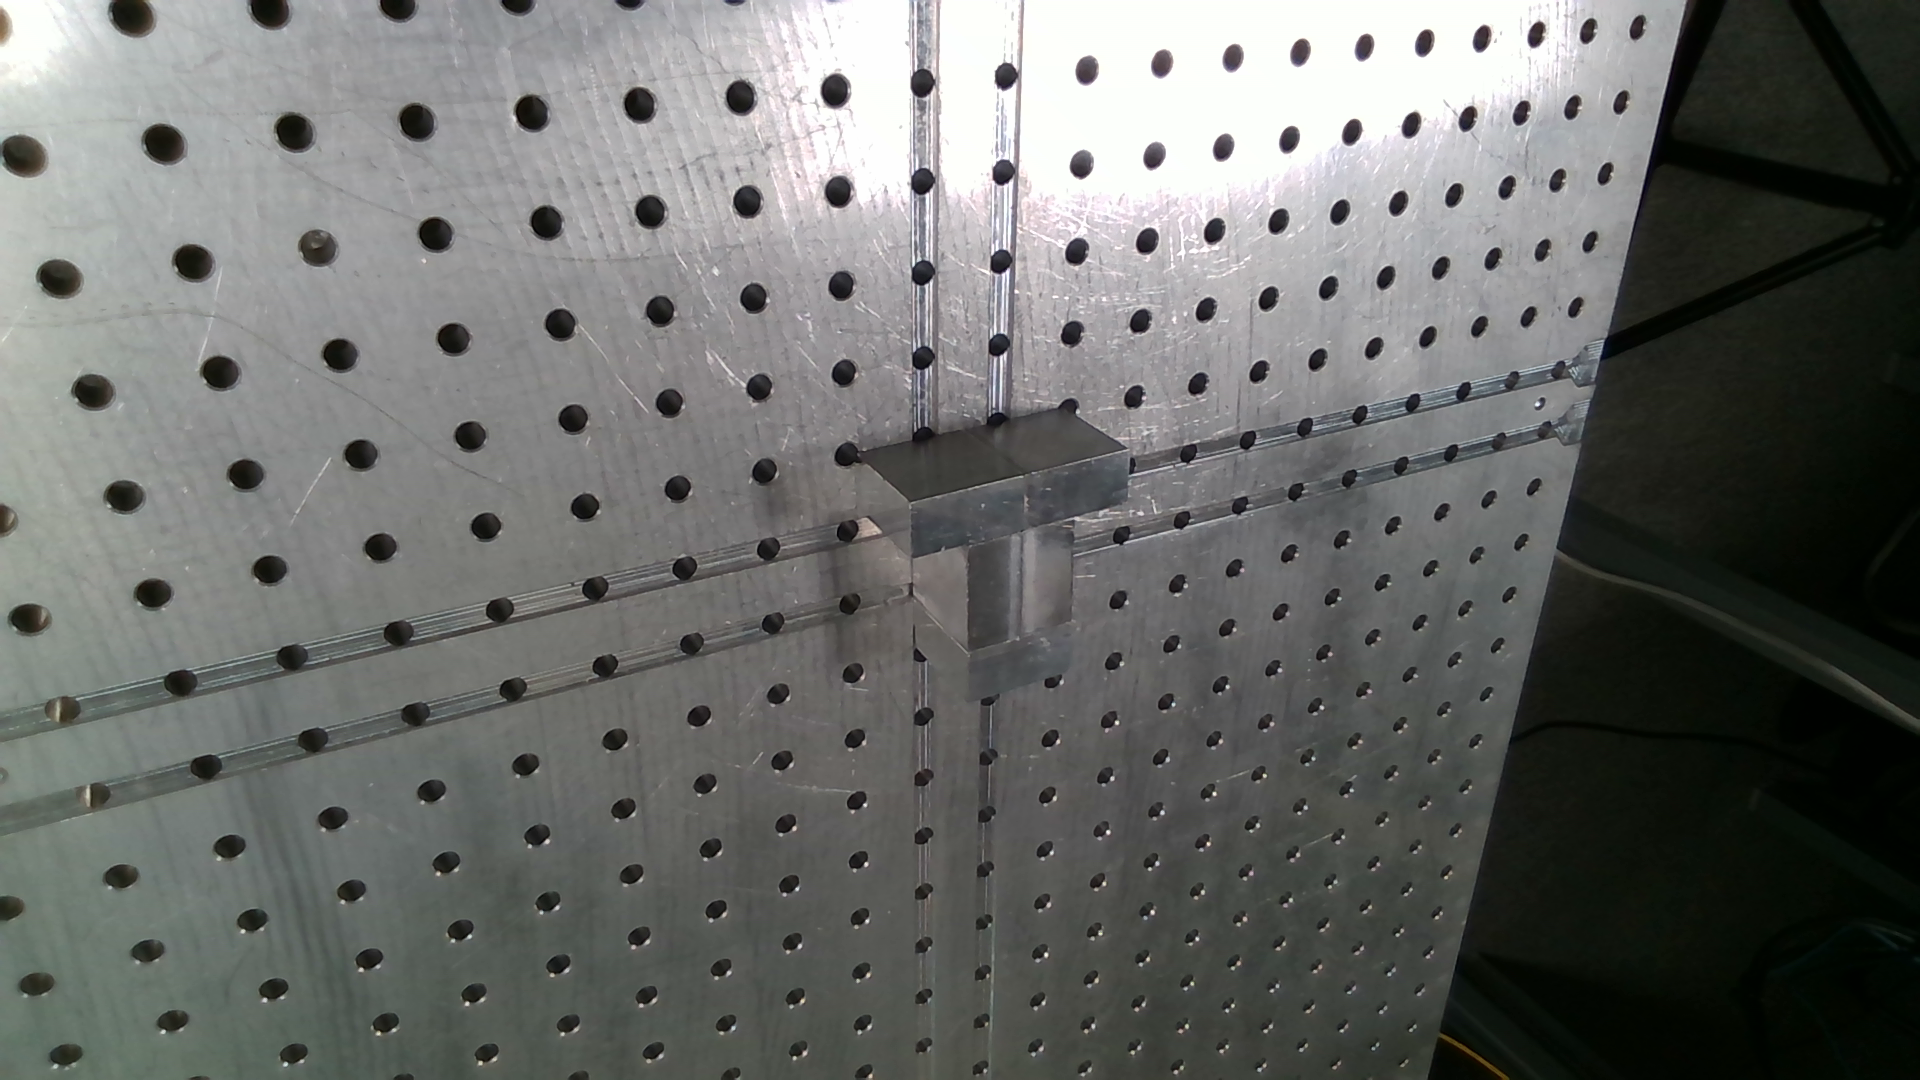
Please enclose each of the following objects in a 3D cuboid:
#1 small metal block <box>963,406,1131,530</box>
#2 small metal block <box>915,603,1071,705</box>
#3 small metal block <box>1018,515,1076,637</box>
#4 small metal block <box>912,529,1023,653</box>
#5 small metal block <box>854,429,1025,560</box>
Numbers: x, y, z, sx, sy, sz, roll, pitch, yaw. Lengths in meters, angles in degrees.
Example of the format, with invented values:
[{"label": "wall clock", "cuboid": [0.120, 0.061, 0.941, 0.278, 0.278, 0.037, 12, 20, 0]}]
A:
[{"label": "small metal block", "cuboid": [0.035, -0.031, 0.572, 0.050, 0.050, 0.025, -15, 121, -25]}, {"label": "small metal block", "cuboid": [0.013, 0.042, 0.597, 0.050, 0.050, 0.025, -15, 121, -25]}, {"label": "small metal block", "cuboid": [0.024, 0.005, 0.584, 0.025, 0.050, 0.050, -15, 122, -25]}, {"label": "small metal block", "cuboid": [0.002, 0.011, 0.574, 0.025, 0.050, 0.050, -15, 122, -25]}, {"label": "small metal block", "cuboid": [-0.009, -0.019, 0.551, 0.050, 0.050, 0.025, -15, 121, -25]}]
